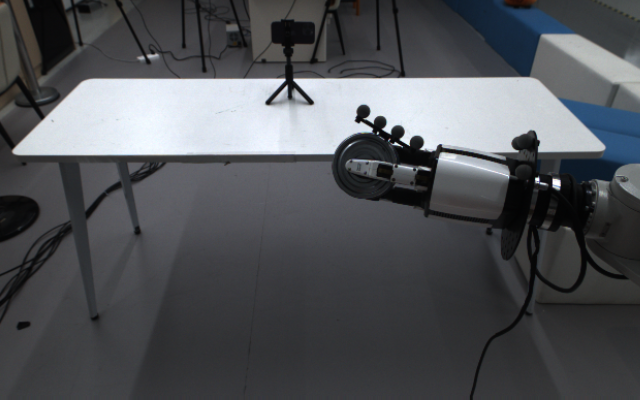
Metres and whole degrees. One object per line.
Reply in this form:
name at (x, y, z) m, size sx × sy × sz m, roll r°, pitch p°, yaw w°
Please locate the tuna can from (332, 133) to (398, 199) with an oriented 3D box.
tuna can at (0.063, -0.038, 0.623) m, size 0.085 × 0.085 × 0.034 m, roll 13°, pitch 4°, yaw 15°
